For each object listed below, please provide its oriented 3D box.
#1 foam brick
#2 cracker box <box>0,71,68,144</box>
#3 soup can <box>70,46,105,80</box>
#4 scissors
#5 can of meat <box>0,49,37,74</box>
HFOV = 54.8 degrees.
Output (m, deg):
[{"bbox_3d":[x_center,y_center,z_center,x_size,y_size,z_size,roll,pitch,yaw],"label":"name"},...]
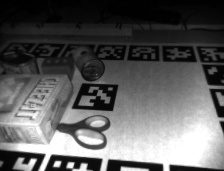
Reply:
[{"bbox_3d":[-0.157,-0.052,0.619,0.078,0.052,0.052,-5,42,-1],"label":"foam brick"},{"bbox_3d":[-0.223,0.042,0.479,0.213,0.072,0.163,-5,40,6],"label":"cracker box"},{"bbox_3d":[-0.073,-0.068,0.630,0.068,0.068,0.100,-24,40,-20],"label":"soup can"},{"bbox_3d":[-0.110,0.091,0.462,0.202,0.016,0.087,-2,42,3],"label":"scissors"},{"bbox_3d":[-0.257,-0.047,0.593,0.101,0.084,0.058,11,45,17],"label":"can of meat"}]
